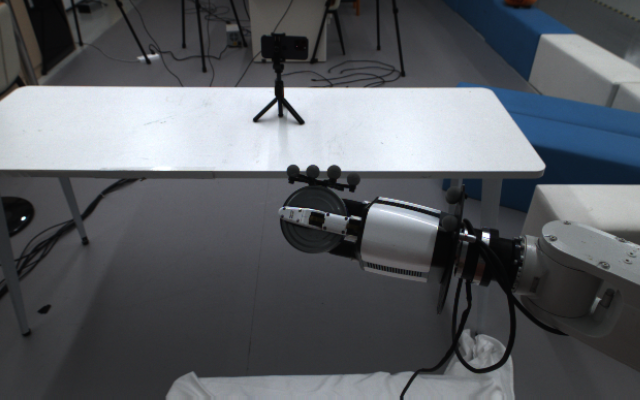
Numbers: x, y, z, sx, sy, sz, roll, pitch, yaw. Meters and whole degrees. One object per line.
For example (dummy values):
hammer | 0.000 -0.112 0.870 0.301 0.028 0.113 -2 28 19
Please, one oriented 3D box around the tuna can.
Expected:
tuna can | -0.005 0.024 0.614 0.085 0.085 0.034 11 -7 13
